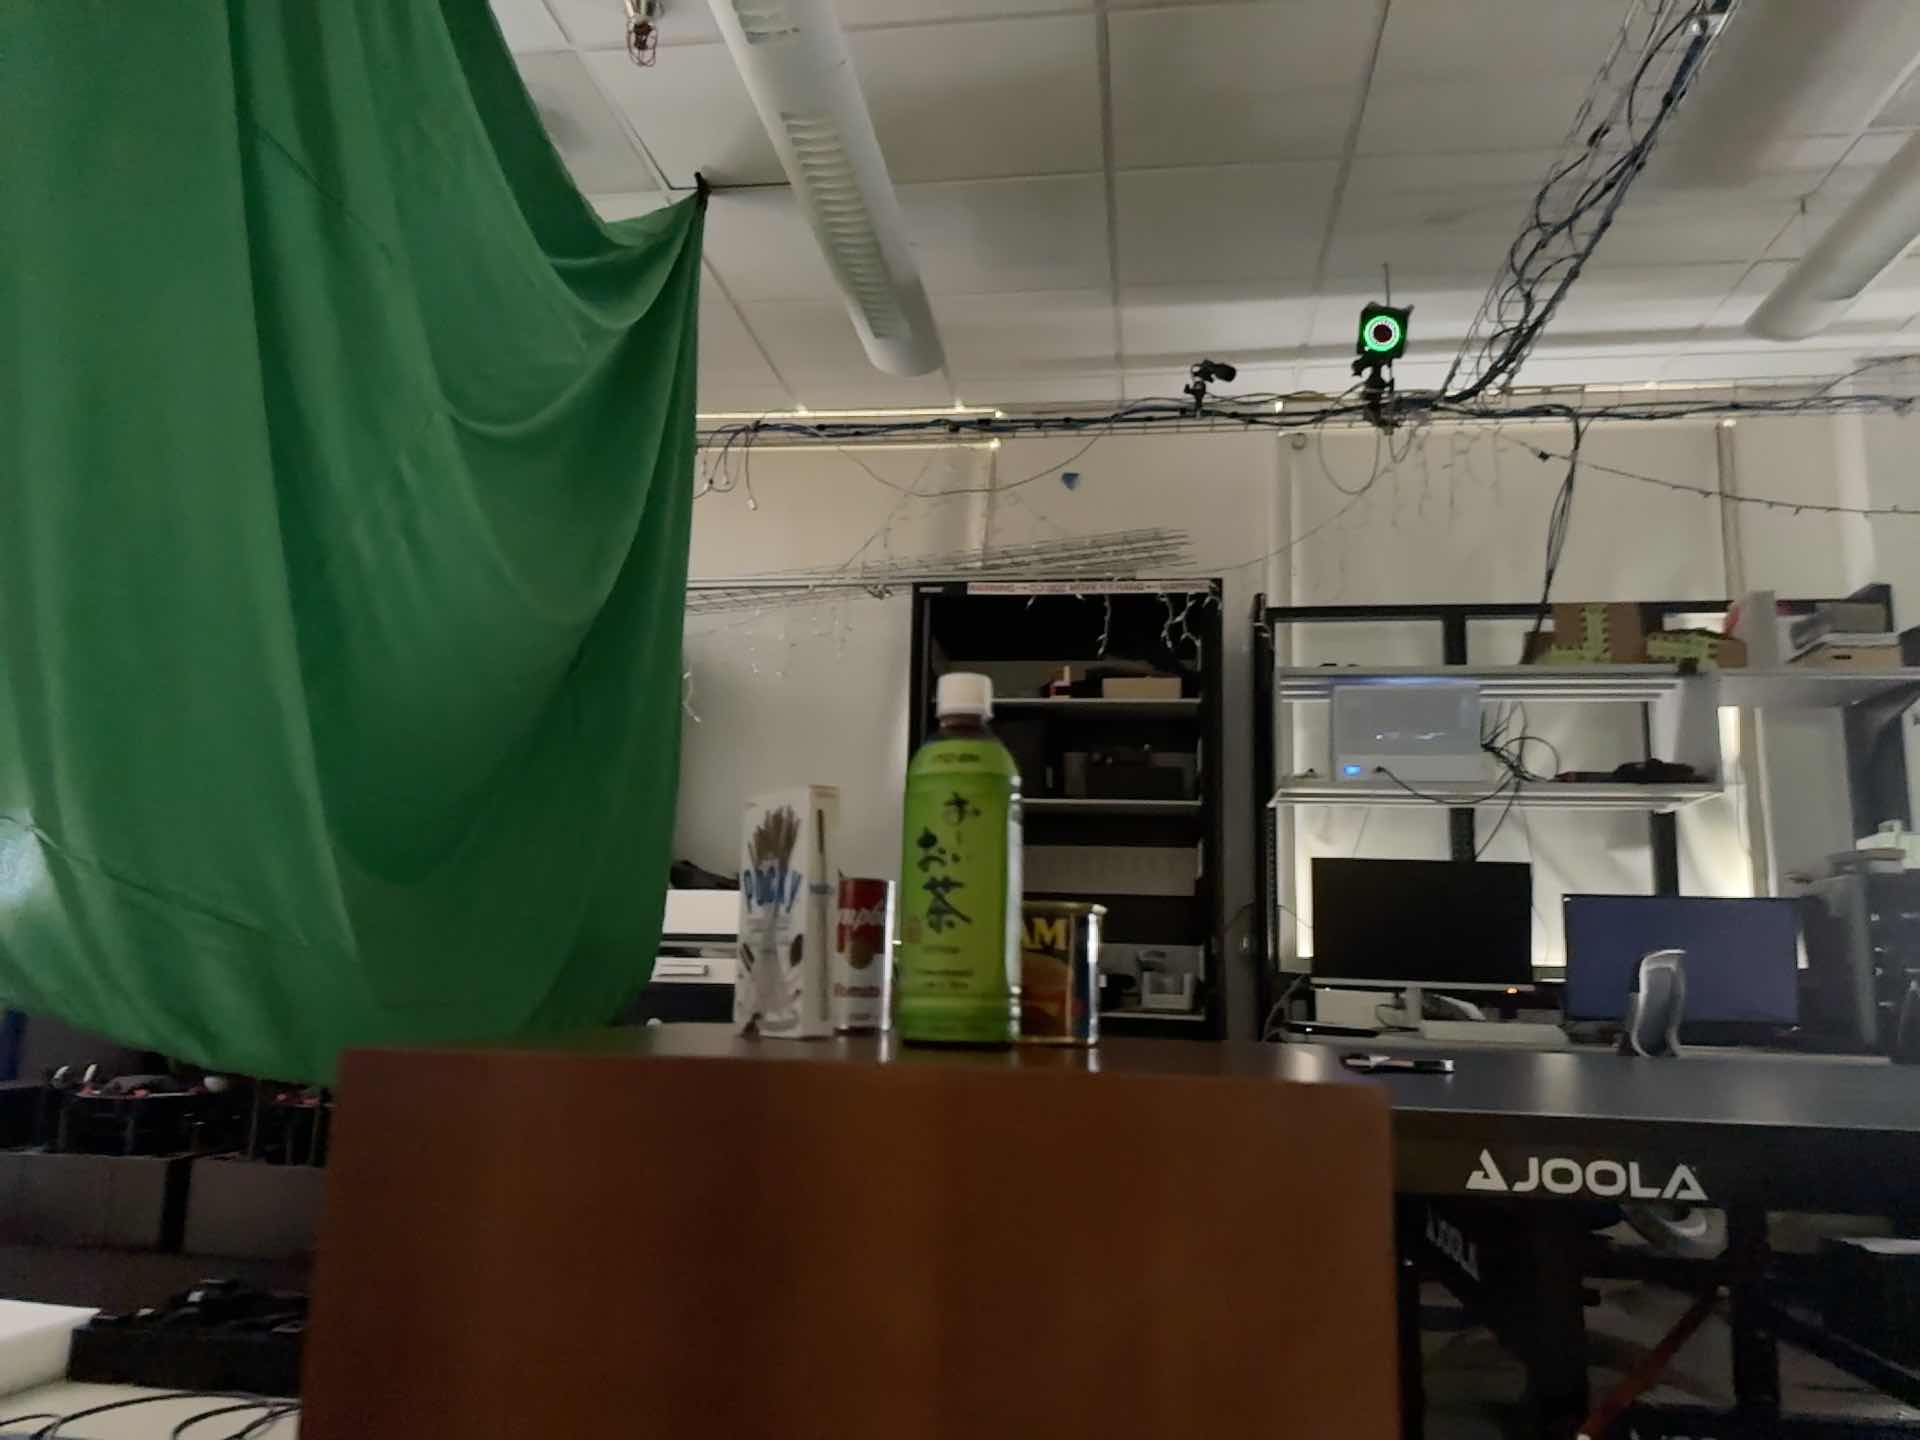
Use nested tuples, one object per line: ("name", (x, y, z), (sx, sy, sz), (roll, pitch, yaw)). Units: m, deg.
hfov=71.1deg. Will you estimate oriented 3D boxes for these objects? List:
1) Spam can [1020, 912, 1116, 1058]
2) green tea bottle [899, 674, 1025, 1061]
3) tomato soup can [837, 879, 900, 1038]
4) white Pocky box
("Spam can", (0.042, 0.161, 0.826), (0.100, 0.083, 0.056), (-2, -10, 23))
("green tea bottle", (0.001, 0.080, 0.752), (0.073, 0.212, 0.073), (-2, -10, 0))
("tomato soup can", (-0.078, 0.159, 0.901), (0.067, 0.102, 0.067), (3, -9, 1))
("white Pocky box", (-0.106, 0.123, 0.827), (0.028, 0.154, 0.084), (9, -11, -39))
